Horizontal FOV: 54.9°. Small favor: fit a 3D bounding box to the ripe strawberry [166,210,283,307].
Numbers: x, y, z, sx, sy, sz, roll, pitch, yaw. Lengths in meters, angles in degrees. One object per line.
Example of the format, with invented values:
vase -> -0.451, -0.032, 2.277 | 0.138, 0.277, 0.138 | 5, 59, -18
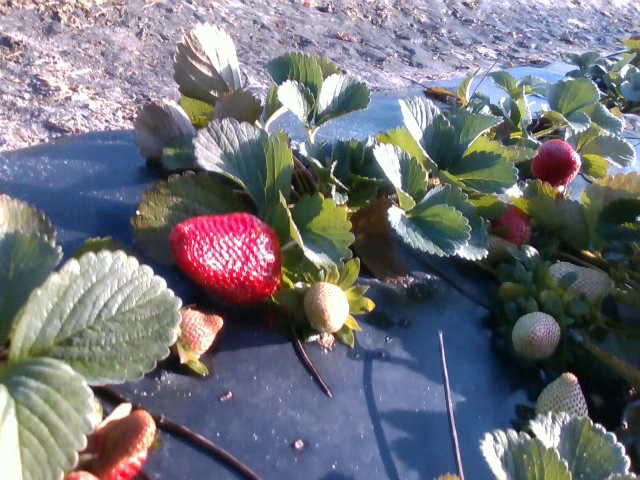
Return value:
ripe strawberry -> -0.050, 0.005, 0.302 | 0.056, 0.055, 0.072 | -17, -5, 28
